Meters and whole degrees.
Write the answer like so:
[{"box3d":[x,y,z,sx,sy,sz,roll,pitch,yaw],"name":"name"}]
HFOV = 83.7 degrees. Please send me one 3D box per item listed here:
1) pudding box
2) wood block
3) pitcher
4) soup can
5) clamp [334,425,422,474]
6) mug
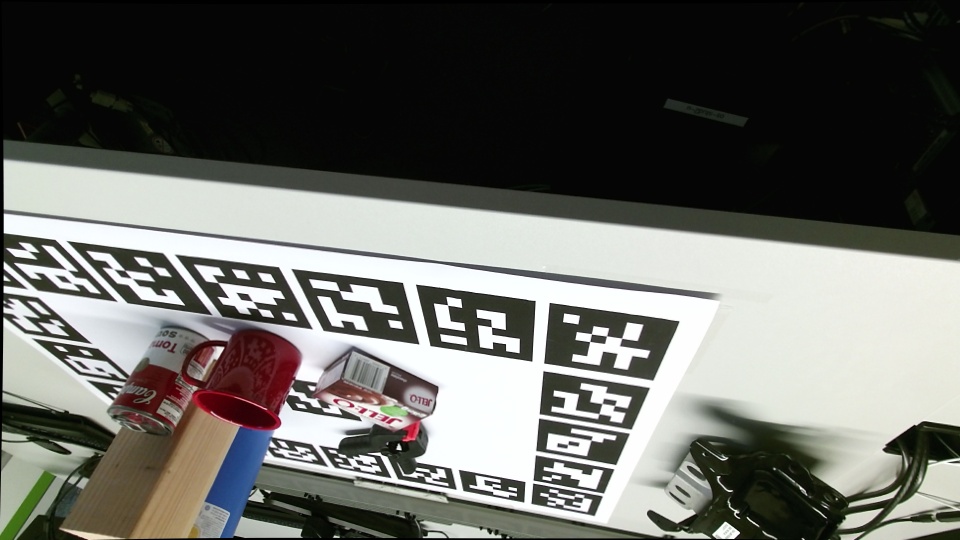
[{"box3d":[-0.113,0.143,0.602,0.114,0.038,0.090,30,134,-21],"name":"pudding box"},{"box3d":[-0.375,0.222,0.627,0.090,0.205,0.091,7,140,13],"name":"wood block"},{"box3d":[-0.397,0.310,0.713,0.189,0.241,0.133,3,142,6],"name":"pitcher"},{"box3d":[-0.352,0.127,0.590,0.068,0.101,0.068,7,138,6],"name":"soup can"},{"box3d":[-0.127,0.241,0.731,0.122,0.036,0.165,30,137,-10],"name":"clamp"},{"box3d":[-0.259,0.115,0.569,0.117,0.081,0.093,29,140,-21],"name":"mug"}]
